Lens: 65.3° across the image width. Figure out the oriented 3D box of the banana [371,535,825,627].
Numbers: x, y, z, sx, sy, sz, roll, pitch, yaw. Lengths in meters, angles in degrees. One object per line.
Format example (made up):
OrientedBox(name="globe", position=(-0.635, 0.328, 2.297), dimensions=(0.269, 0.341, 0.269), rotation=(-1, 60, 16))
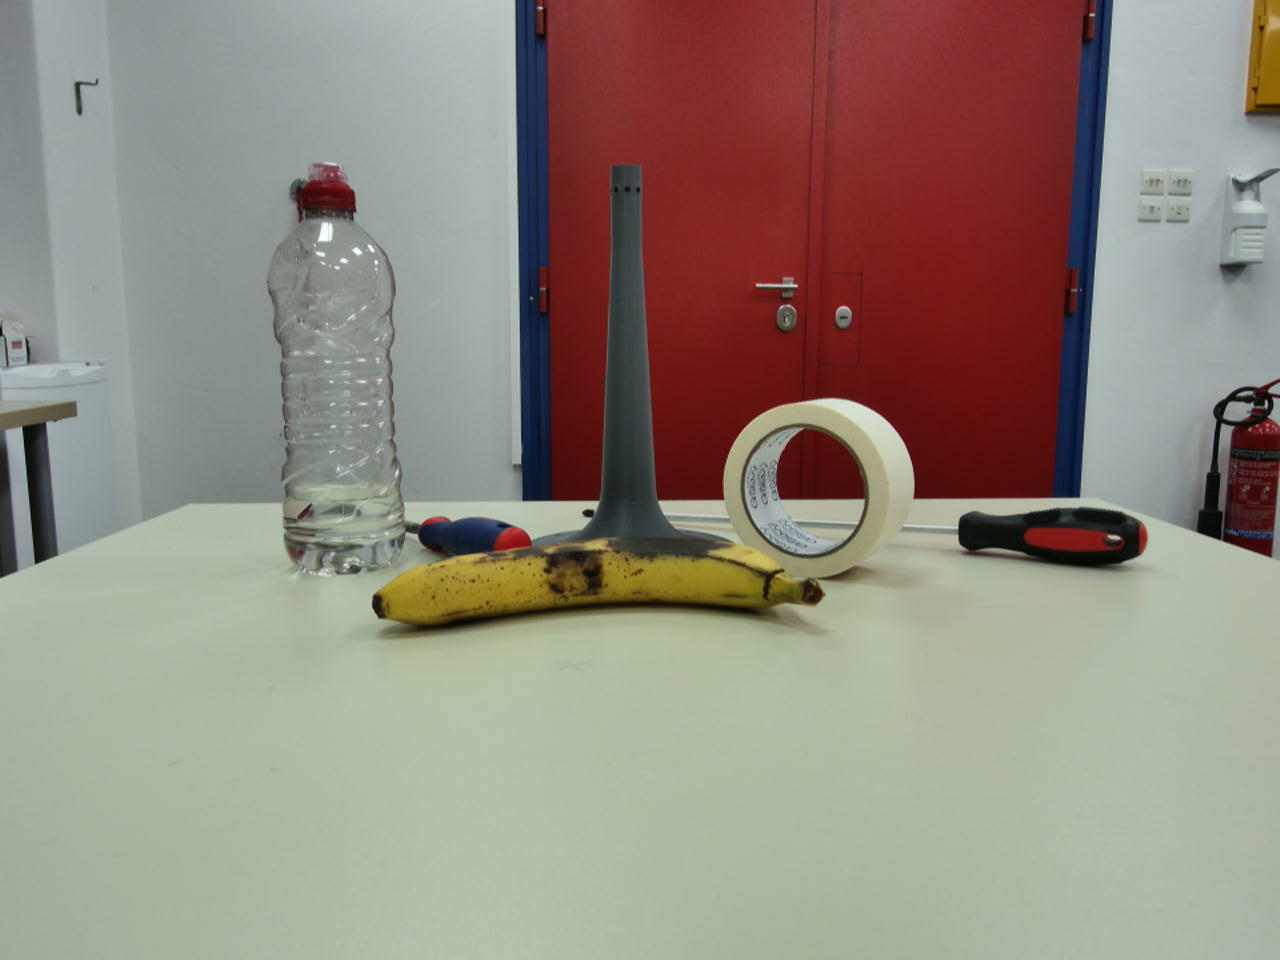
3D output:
OrientedBox(name="banana", position=(-0.021, 0.052, 0.526), dimensions=(0.222, 0.037, 0.084), rotation=(0, 6, -1))
